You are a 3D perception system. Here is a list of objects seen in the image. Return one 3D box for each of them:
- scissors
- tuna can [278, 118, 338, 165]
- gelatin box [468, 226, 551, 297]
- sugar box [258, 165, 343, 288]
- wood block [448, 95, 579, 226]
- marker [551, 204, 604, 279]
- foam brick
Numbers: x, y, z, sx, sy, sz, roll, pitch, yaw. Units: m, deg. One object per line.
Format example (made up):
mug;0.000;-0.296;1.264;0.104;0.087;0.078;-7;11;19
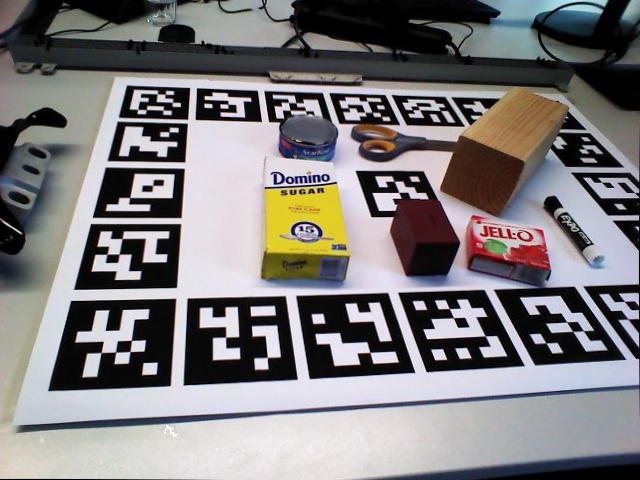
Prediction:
scissors;0.151;-0.137;0.784;0.203;0.016;0.087;3;44;-1
tuna can;-0.018;-0.138;0.745;0.086;0.034;0.085;4;45;-4
gelatin box;0.224;0.024;0.618;0.089;0.030;0.073;12;45;5
sugar box;-0.025;-0.021;0.621;0.093;0.045;0.175;3;44;-6
wood block;0.278;-0.118;0.732;0.090;0.091;0.205;31;48;23
marker;0.327;-0.002;0.664;0.019;0.020;0.120;0;47;-8
foam brick;0.122;0.008;0.599;0.053;0.051;0.077;1;45;-7
